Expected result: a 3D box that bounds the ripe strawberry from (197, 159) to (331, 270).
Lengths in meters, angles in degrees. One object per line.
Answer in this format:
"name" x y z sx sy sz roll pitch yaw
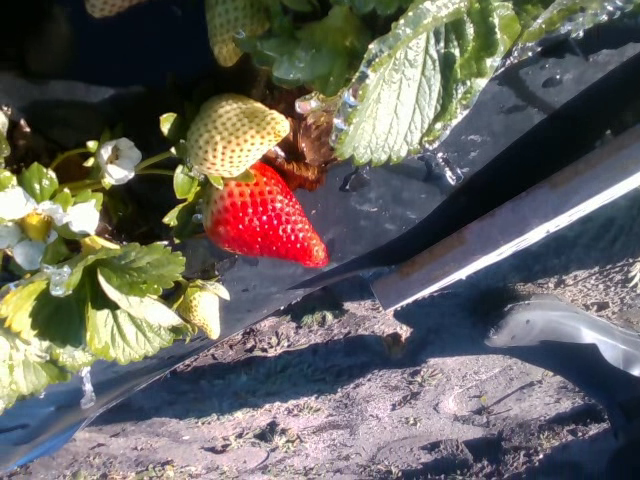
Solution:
"ripe strawberry" -0.018 -0.005 0.231 0.053 0.042 0.040 35 -27 2
